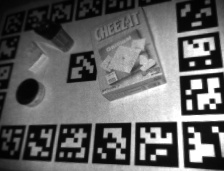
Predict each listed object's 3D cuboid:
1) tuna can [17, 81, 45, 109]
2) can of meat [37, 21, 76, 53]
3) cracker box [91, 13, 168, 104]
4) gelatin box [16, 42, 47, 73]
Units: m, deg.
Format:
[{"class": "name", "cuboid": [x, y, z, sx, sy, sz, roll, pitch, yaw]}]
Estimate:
[{"class": "tuna can", "cuboid": [-0.258, 0.031, 0.691, 0.085, 0.034, 0.085, -6, 72, 20]}, {"class": "can of meat", "cuboid": [-0.180, -0.158, 0.715, 0.100, 0.085, 0.058, 27, 82, 29]}, {"class": "cracker box", "cuboid": [0.041, -0.077, 0.602, 0.163, 0.073, 0.212, -20, 63, 12]}, {"class": "gelatin box", "cuboid": [-0.280, -0.099, 0.754, 0.088, 0.030, 0.073, 40, 85, 26]}]
